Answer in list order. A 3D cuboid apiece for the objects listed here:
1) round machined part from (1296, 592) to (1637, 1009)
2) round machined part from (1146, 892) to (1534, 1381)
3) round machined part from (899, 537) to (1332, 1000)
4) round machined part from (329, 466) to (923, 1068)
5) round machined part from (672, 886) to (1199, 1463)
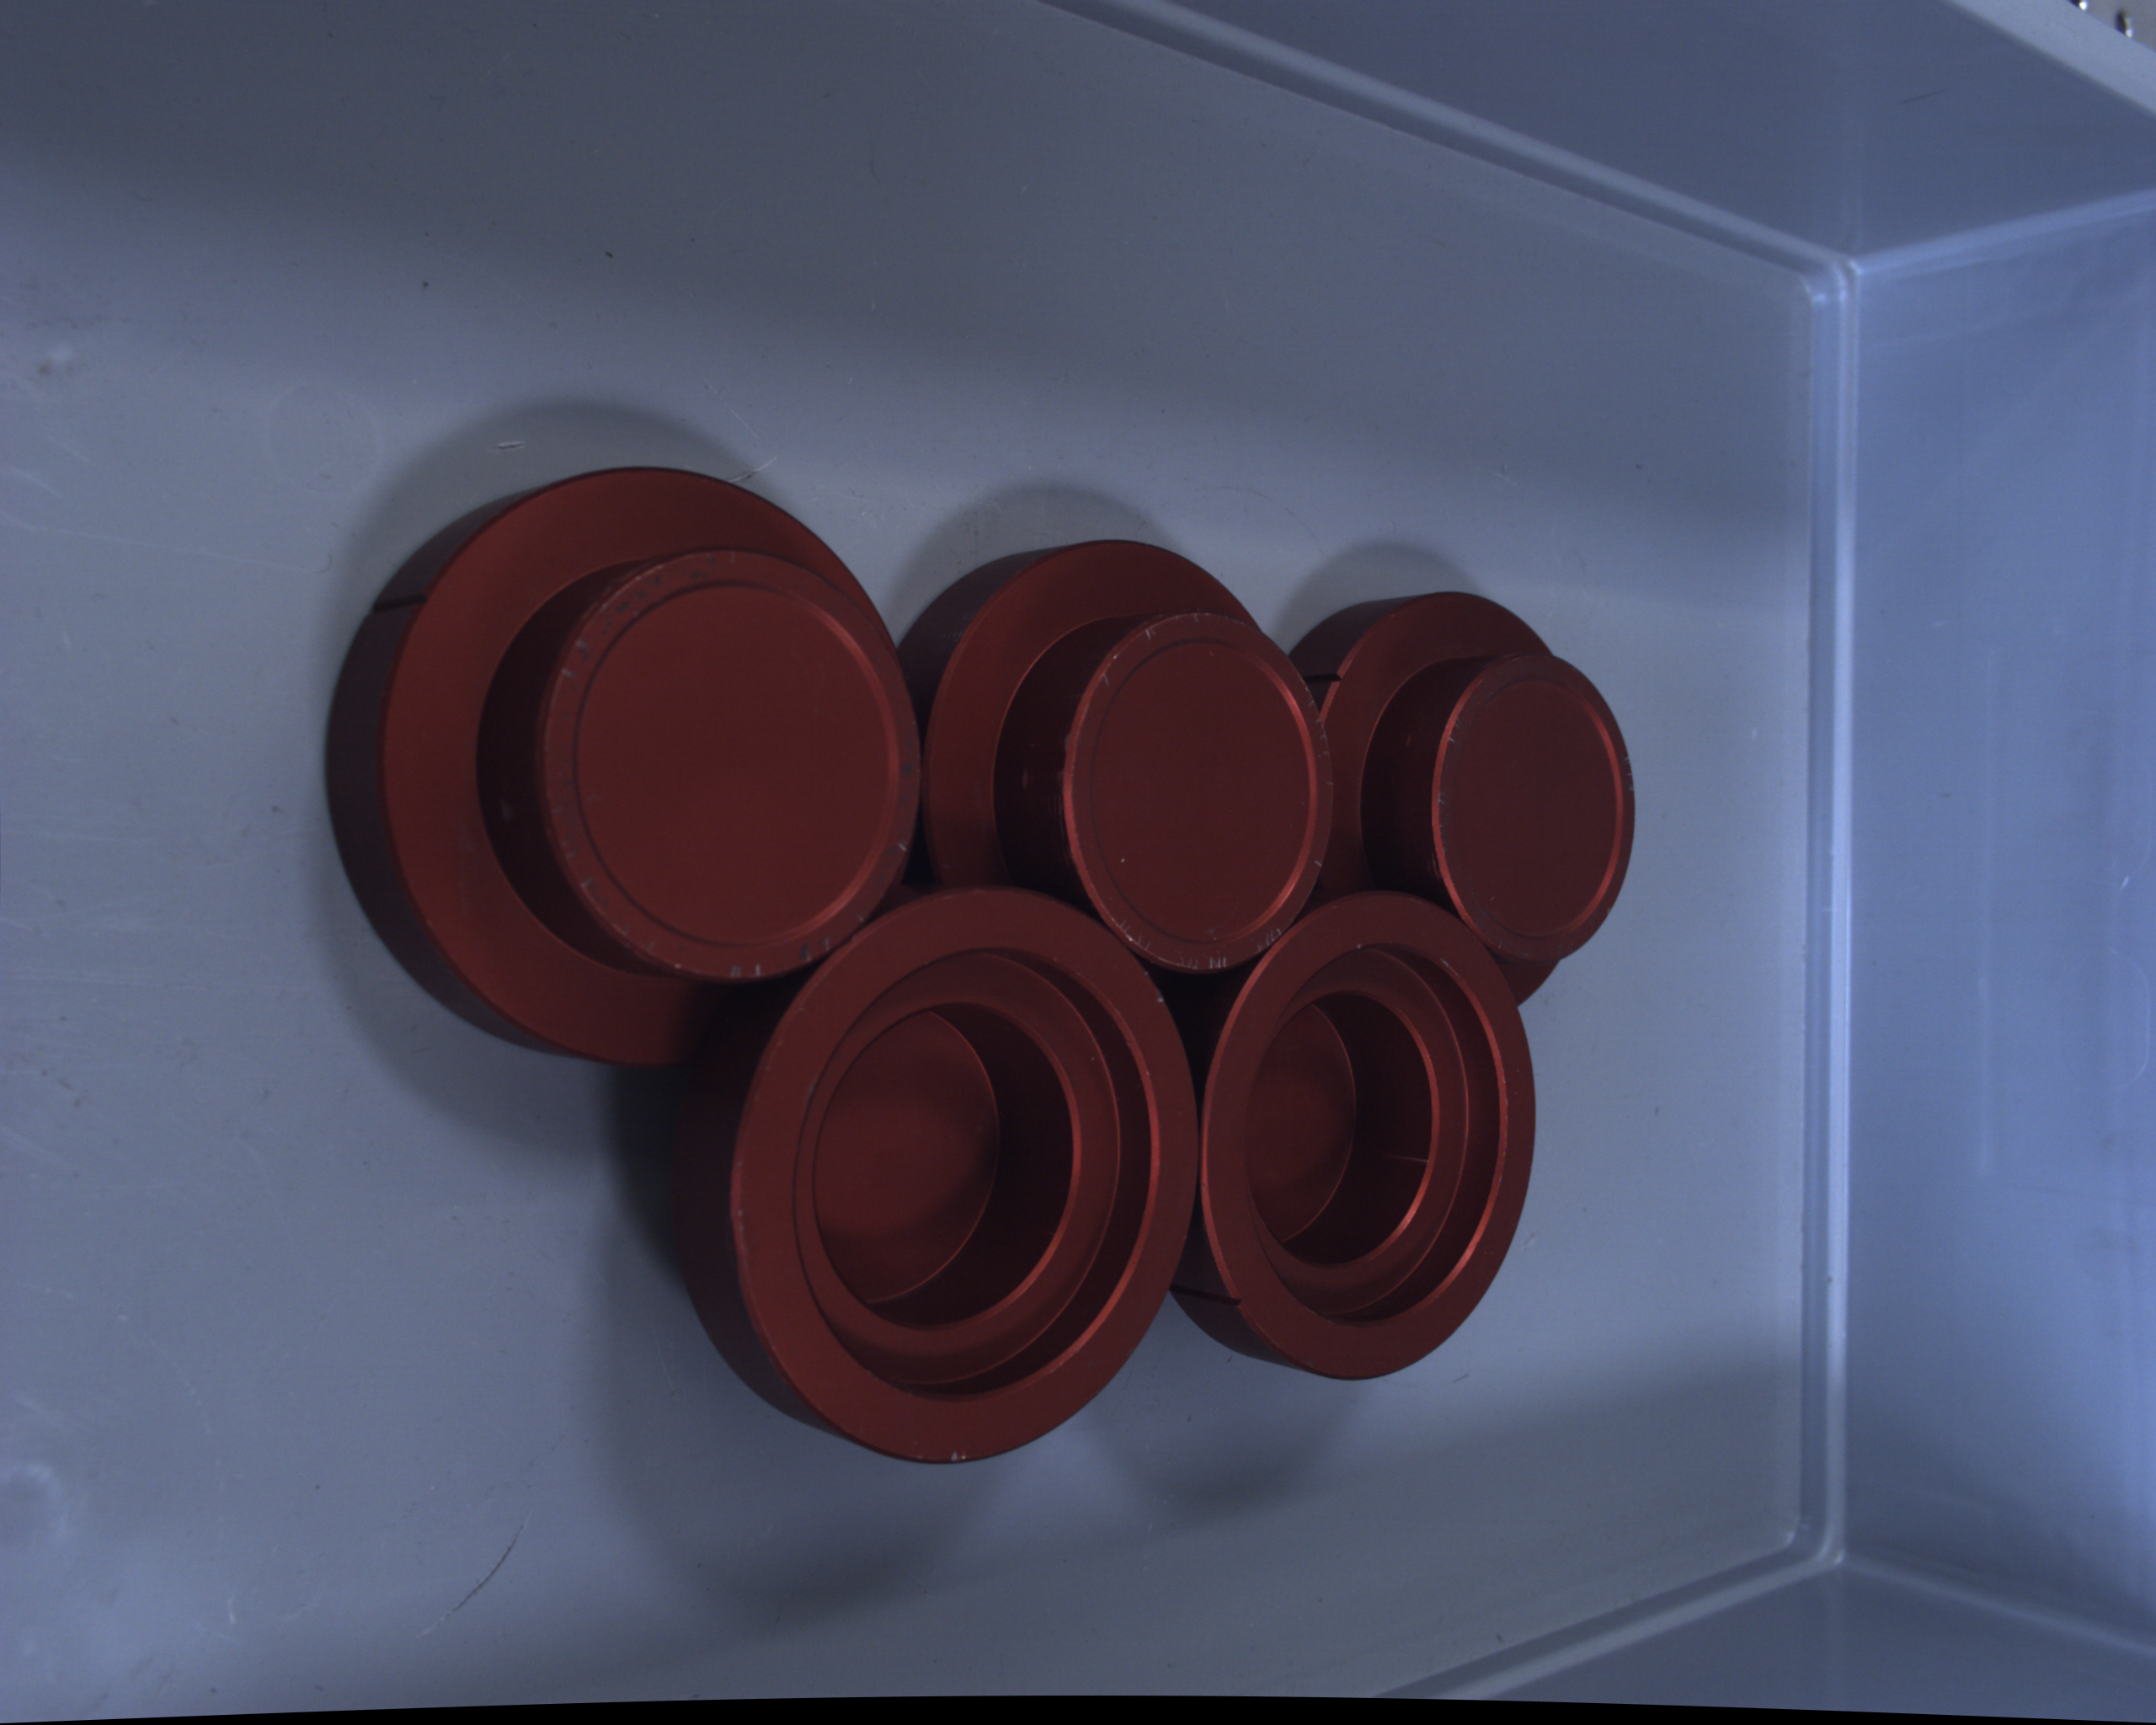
[{"bbox_3d":[0.087,-0.012,0.465,0.099,0.042,0.097,1,89,-39],"label":"round machined part"},{"bbox_3d":[0.047,0.054,0.433,0.099,0.042,0.097,0,90,-40],"label":"round machined part"},{"bbox_3d":[0.010,-0.014,0.401,0.099,0.042,0.097,1,89,-39],"label":"round machined part"},{"bbox_3d":[-0.065,-0.015,0.338,0.099,0.042,0.097,1,89,-41],"label":"round machined part"},{"bbox_3d":[-0.028,0.052,0.369,0.099,0.042,0.097,0,90,-40],"label":"round machined part"}]
